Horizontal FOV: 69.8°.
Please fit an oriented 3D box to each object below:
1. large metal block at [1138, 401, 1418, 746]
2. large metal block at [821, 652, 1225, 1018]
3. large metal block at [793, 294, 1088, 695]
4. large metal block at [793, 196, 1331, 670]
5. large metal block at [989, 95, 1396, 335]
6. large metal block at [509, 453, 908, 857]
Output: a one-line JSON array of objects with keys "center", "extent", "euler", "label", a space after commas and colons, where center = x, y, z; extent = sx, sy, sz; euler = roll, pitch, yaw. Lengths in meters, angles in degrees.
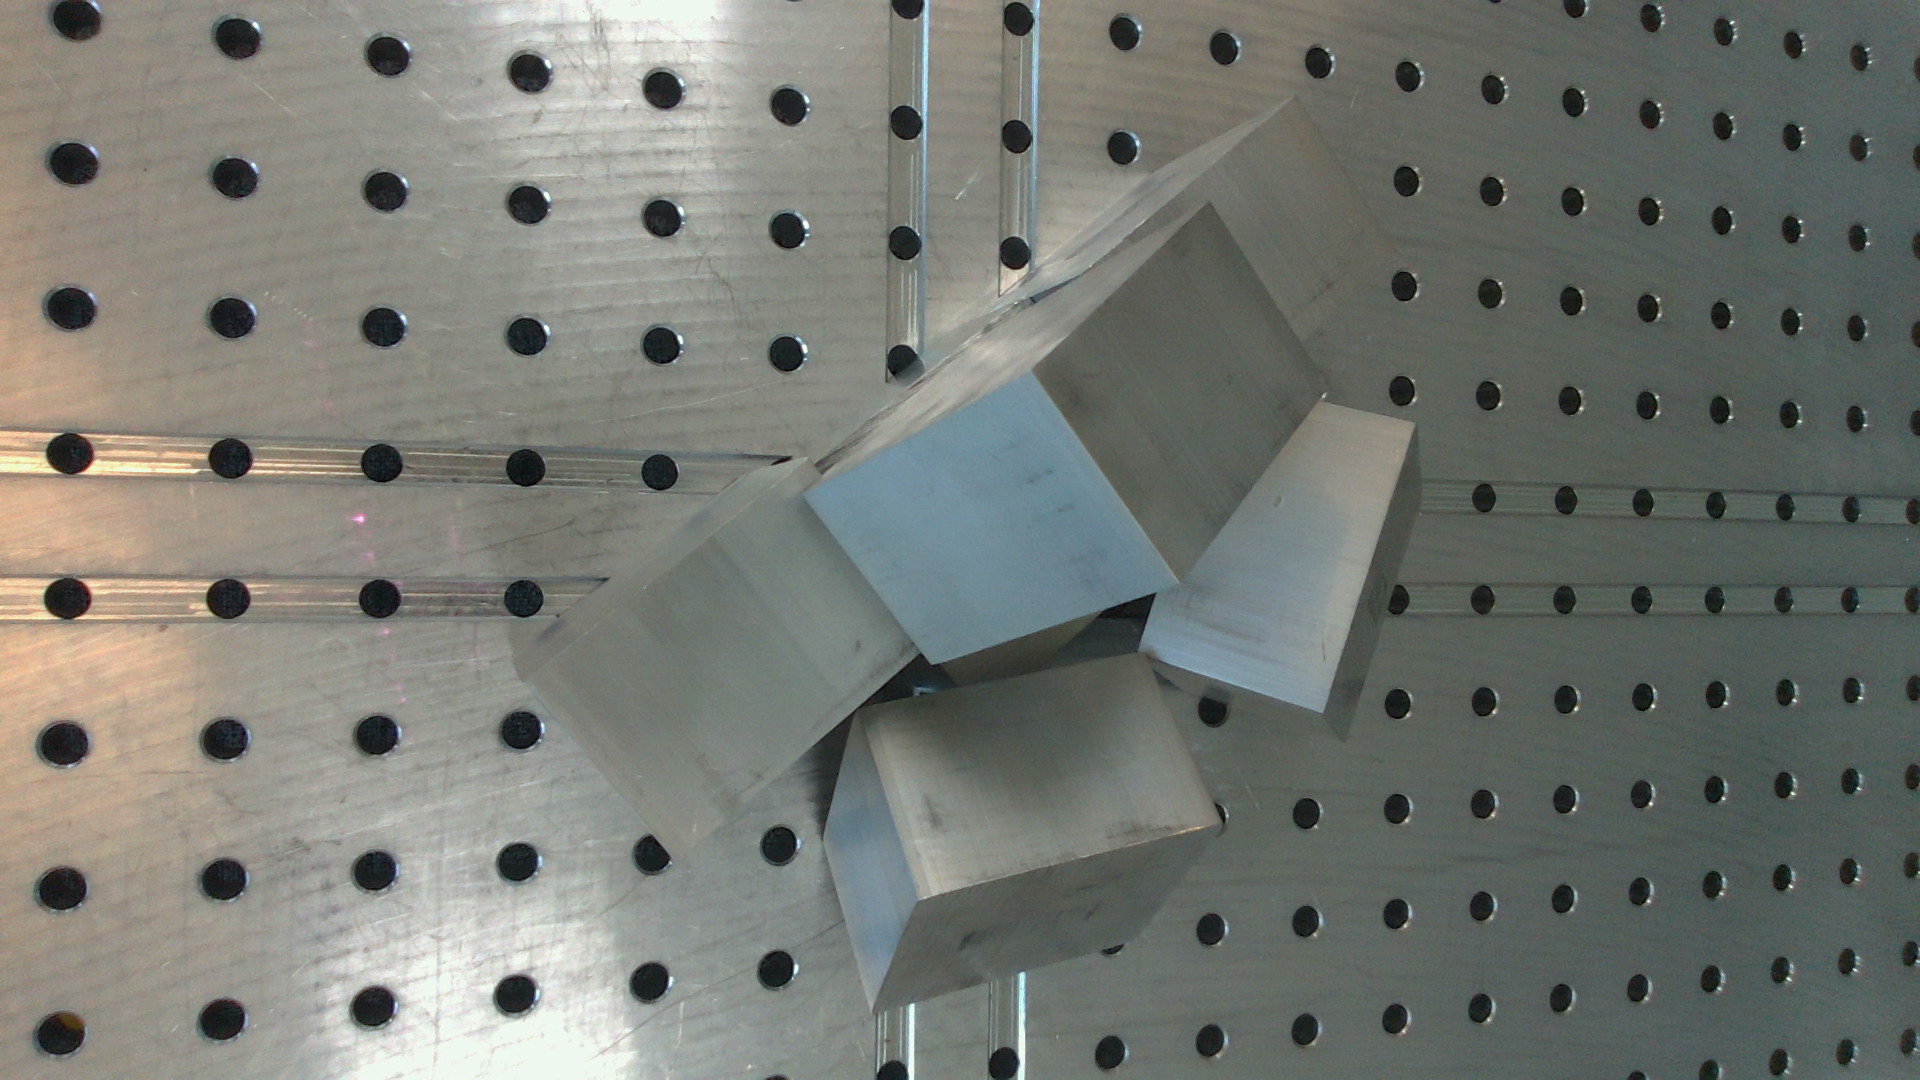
[{"center": [0.094, 0.009, 0.393], "extent": [0.050, 0.080, 0.080], "euler": [17, 83, 22], "label": "large metal block"}, {"center": [0.012, 0.079, 0.363], "extent": [0.080, 0.080, 0.050], "euler": [-9, 57, -20], "label": "large metal block"}, {"center": [0.003, -0.009, 0.385], "extent": [0.080, 0.050, 0.080], "euler": [-41, 103, -15], "label": "large metal block"}, {"center": [0.023, -0.023, 0.308], "extent": [0.050, 0.080, 0.080], "euler": [54, 49, -12], "label": "large metal block"}, {"center": [0.059, -0.070, 0.388], "extent": [0.080, 0.080, 0.050], "euler": [-41, 103, -15], "label": "large metal block"}, {"center": [-0.062, 0.025, 0.343], "extent": [0.080, 0.080, 0.050], "euler": [-40, 103, -16], "label": "large metal block"}]
